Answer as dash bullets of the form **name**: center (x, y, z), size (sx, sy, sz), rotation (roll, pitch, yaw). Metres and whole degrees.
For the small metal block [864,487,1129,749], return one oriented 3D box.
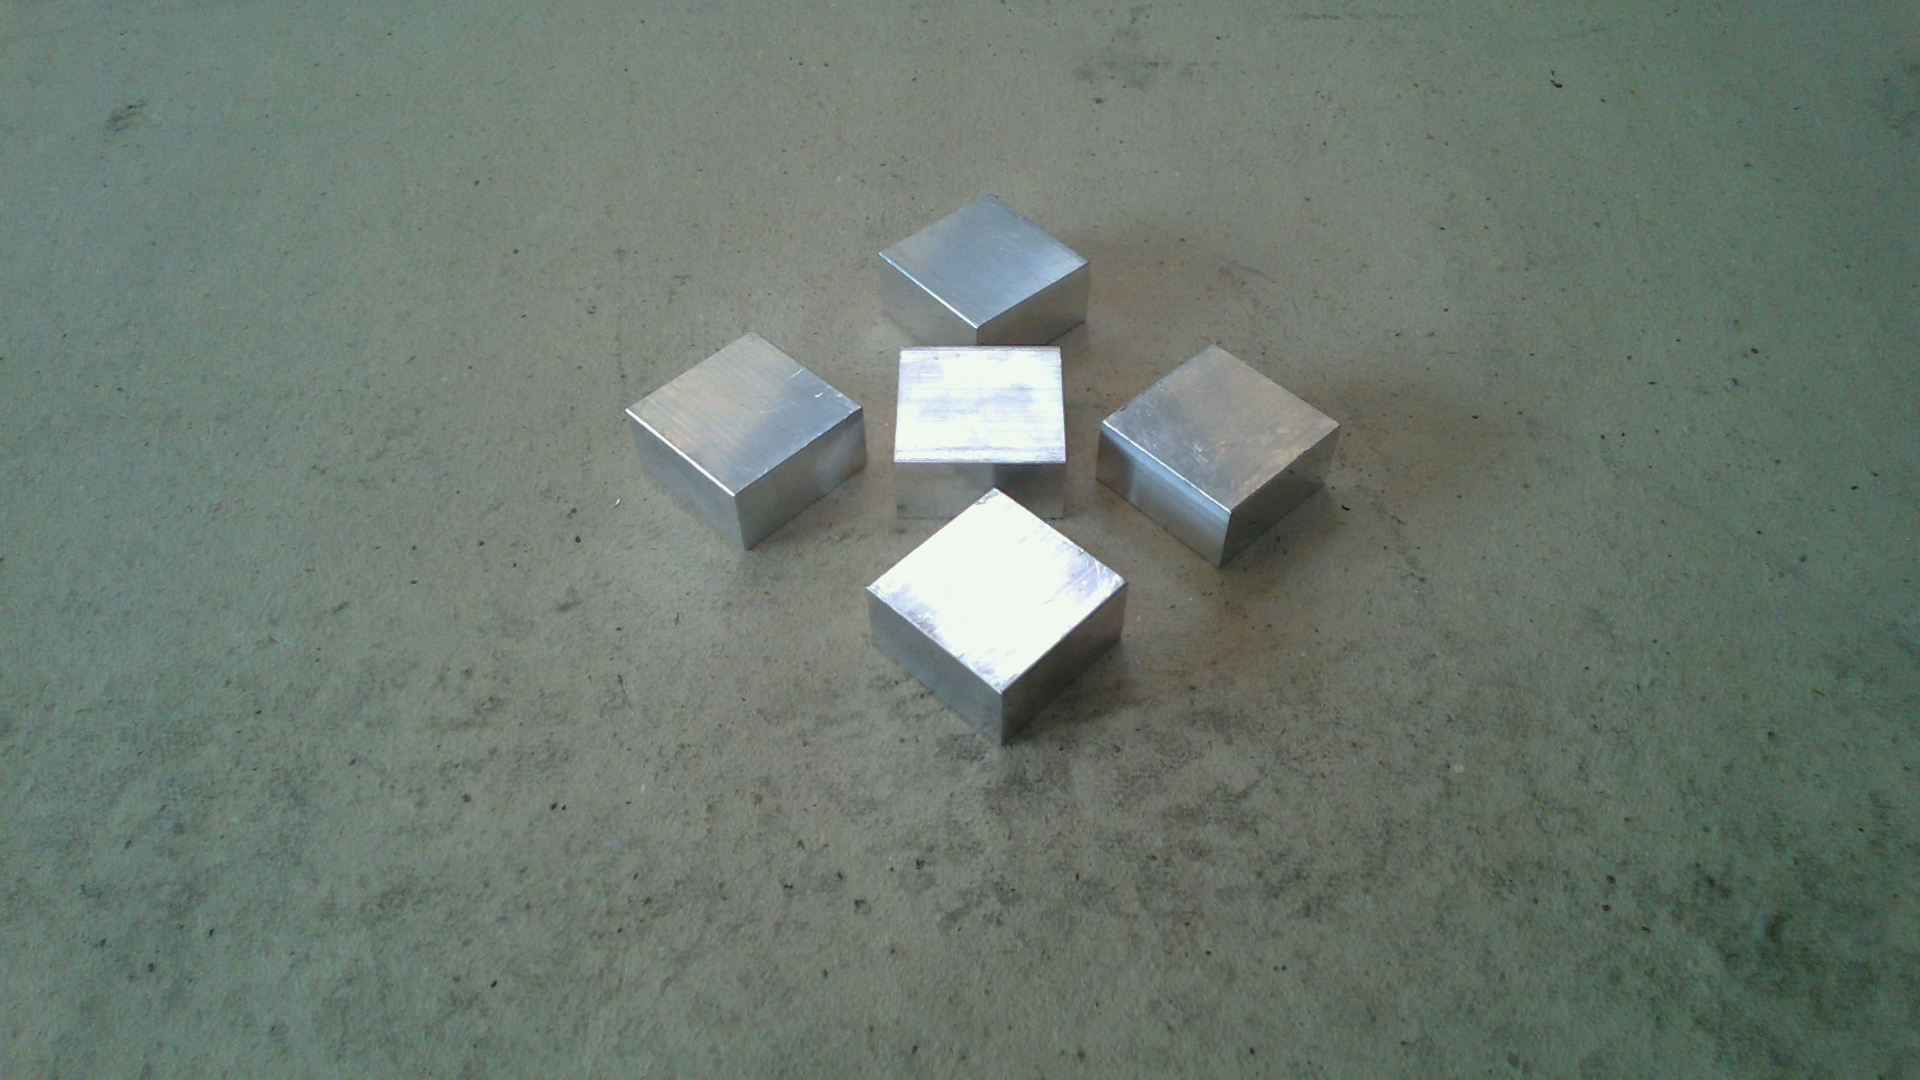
- **small metal block**: center (0.010, 0.020, 0.375), size (0.050, 0.025, 0.050), rotation (37, 58, 26)

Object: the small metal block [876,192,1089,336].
- **small metal block**: center (0.007, -0.086, 0.464), size (0.050, 0.025, 0.050), rotation (-33, 57, -25)

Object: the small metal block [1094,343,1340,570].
- **small metal block**: center (0.077, -0.026, 0.415), size (0.050, 0.025, 0.050), rotation (-36, 59, -26)

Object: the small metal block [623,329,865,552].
- **small metal block**: center (-0.065, -0.031, 0.419), size (0.050, 0.025, 0.050), rotation (36, 57, 26)

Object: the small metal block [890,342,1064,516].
- **small metal block**: center (0.005, -0.034, 0.420), size (0.050, 0.025, 0.050), rotation (0, 50, 1)
